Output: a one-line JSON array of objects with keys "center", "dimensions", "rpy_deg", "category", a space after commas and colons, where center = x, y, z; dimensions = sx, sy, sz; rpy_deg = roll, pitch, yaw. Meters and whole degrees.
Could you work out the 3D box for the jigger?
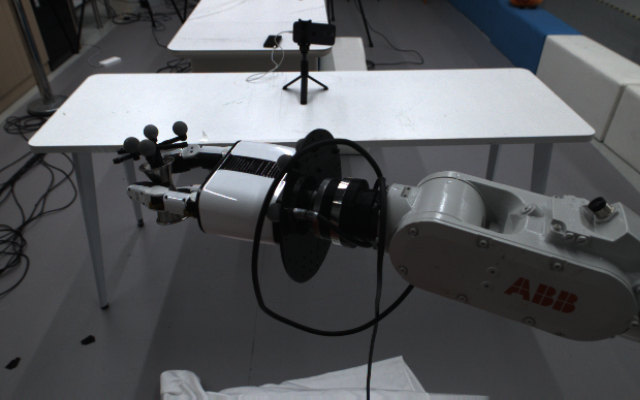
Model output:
[{"center": [-0.174, -0.012, 0.561], "dimensions": [0.043, 0.071, 0.043], "rpy_deg": [-10, 24, 5], "category": "jigger"}]
